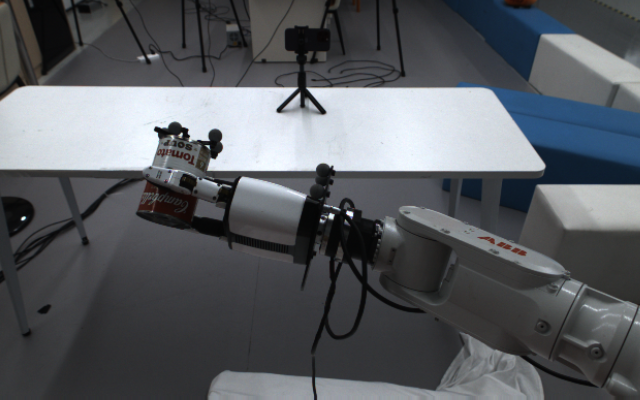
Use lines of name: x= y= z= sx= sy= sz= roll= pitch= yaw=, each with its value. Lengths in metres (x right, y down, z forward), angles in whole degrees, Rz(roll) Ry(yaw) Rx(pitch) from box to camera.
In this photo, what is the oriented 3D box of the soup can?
soup can: x=-0.181 y=-0.020 z=0.607 sx=0.067 sy=0.067 sz=0.101 roll=8 pitch=74 yaw=9
